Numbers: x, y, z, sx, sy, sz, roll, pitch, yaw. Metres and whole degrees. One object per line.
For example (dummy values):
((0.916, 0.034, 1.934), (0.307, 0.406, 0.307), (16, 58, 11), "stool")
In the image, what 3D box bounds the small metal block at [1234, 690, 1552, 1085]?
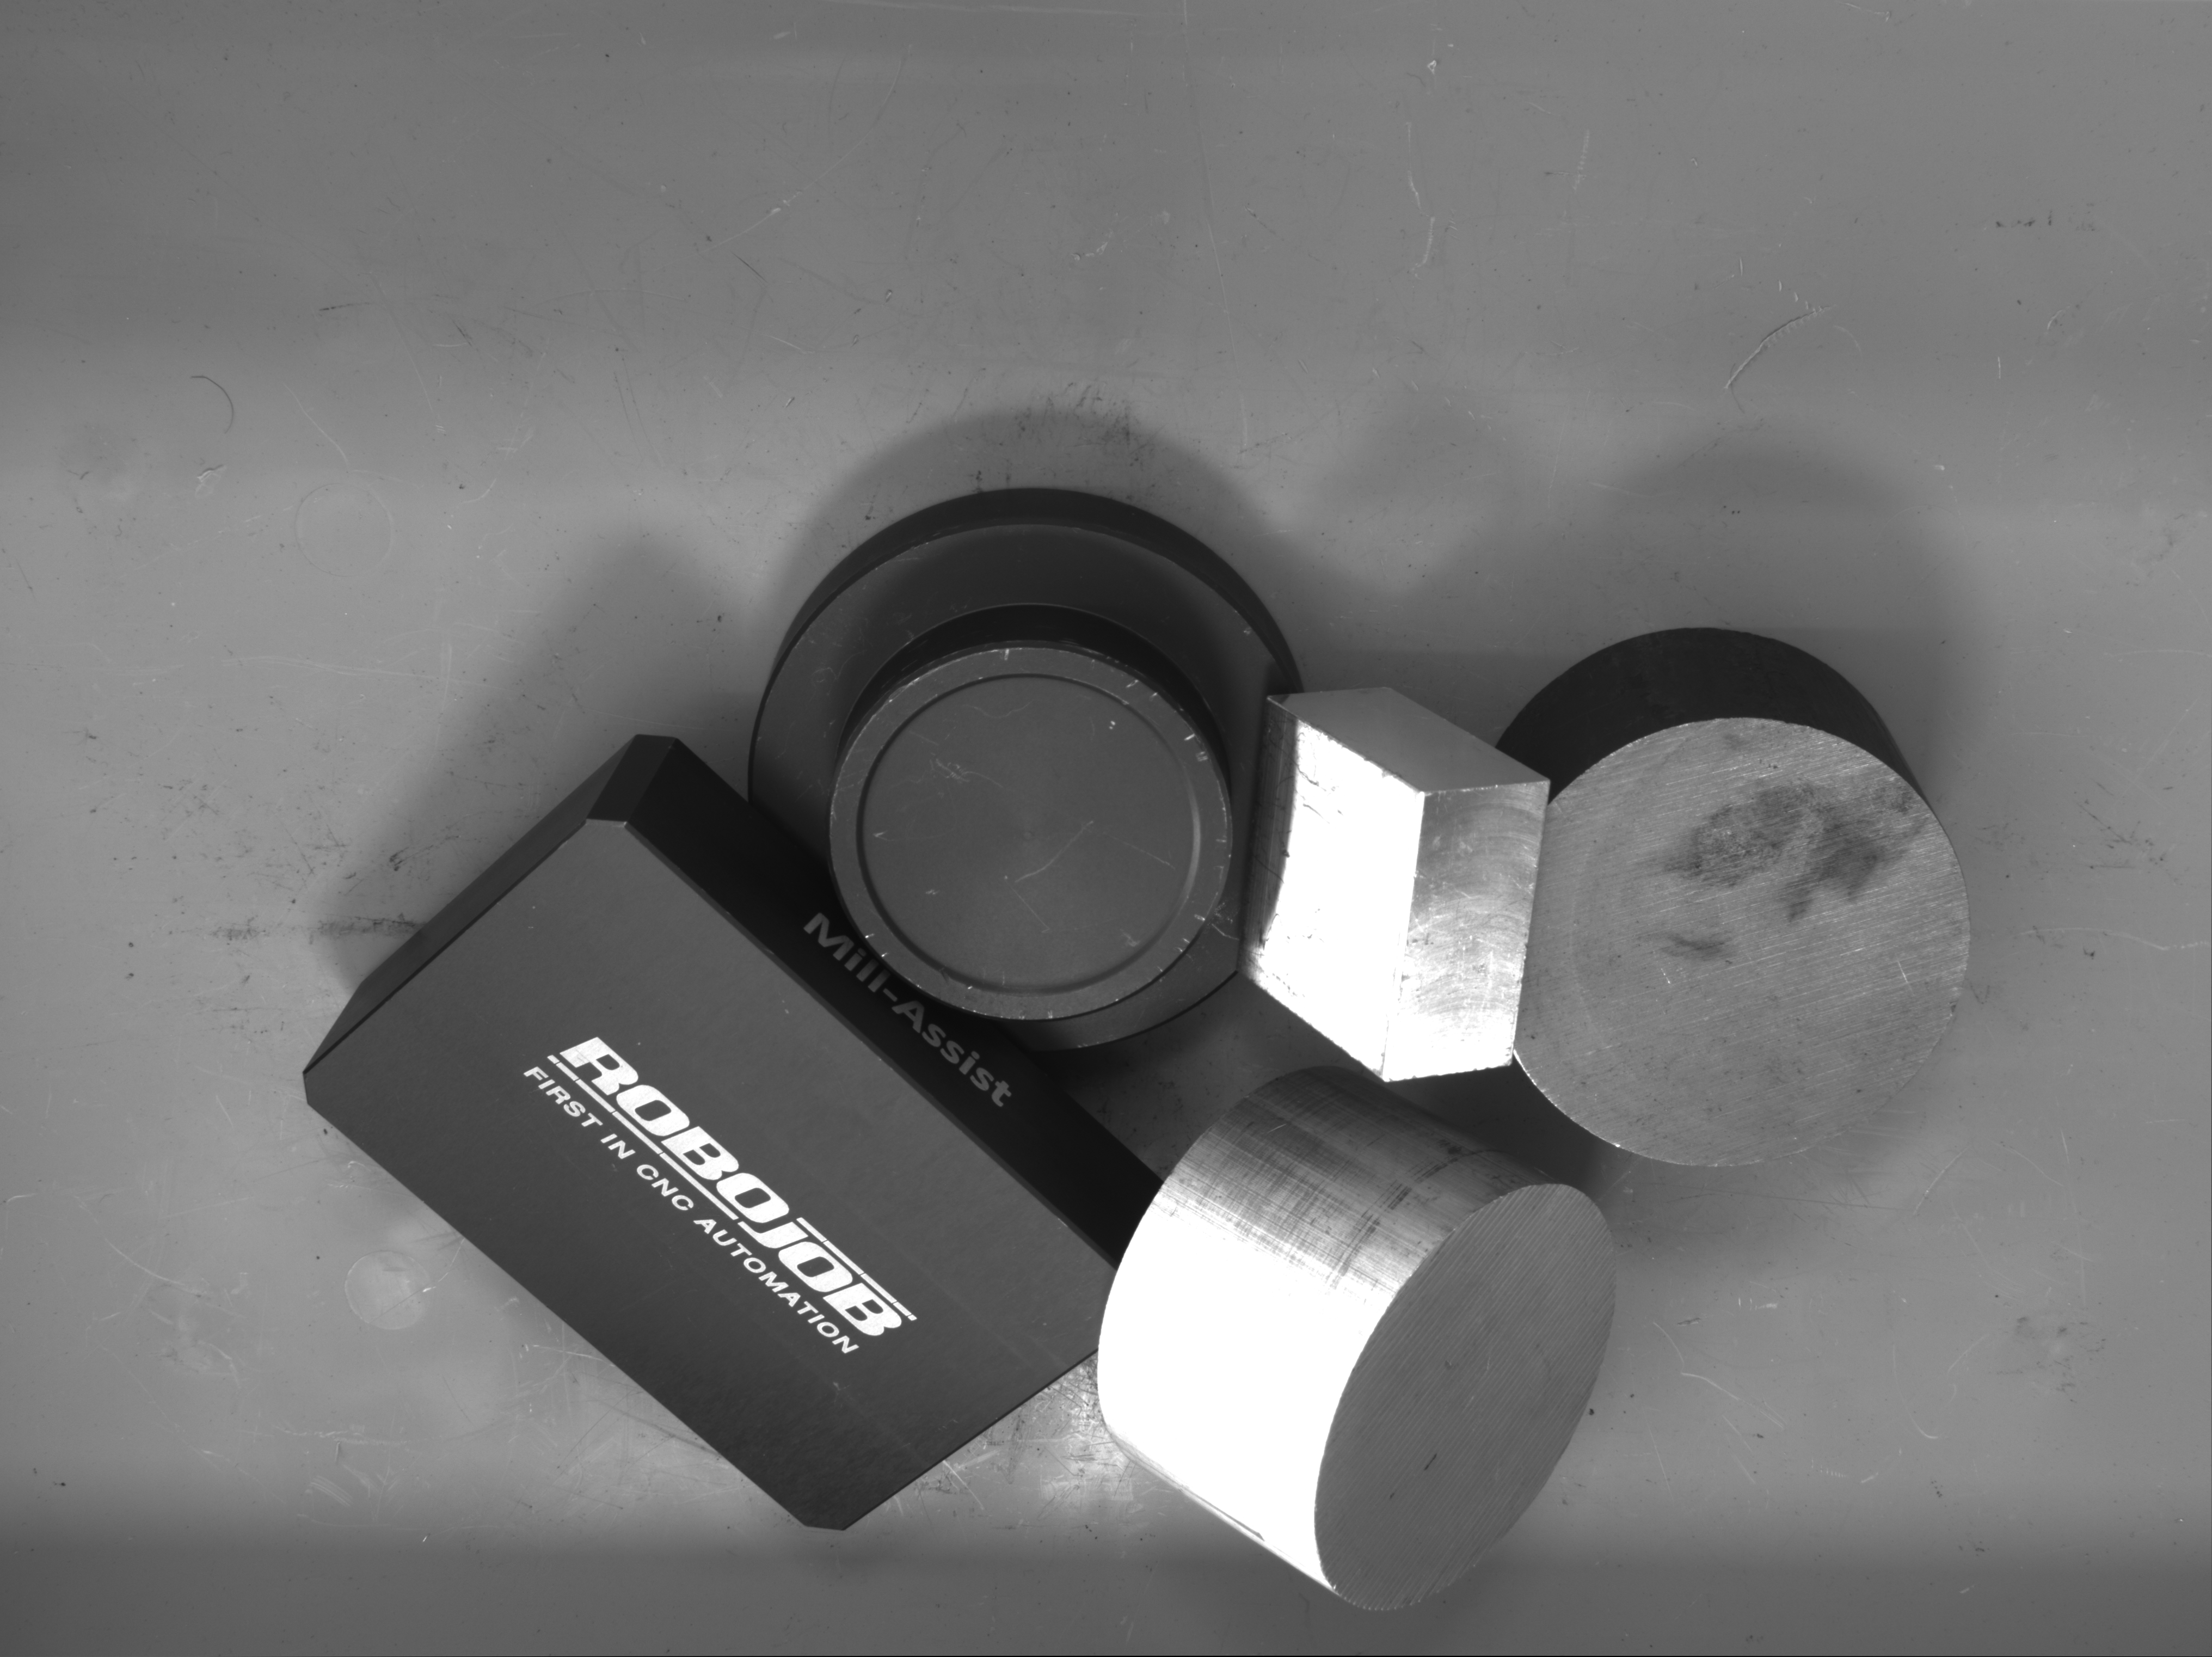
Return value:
((0.047, 0.009, 0.613), (0.025, 0.050, 0.050), (-5, 112, -28), "small metal block")

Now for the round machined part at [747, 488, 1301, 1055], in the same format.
((-0.013, -0.006, 0.631), (0.098, 0.042, 0.098), (0, 110, 0), "round machined part")

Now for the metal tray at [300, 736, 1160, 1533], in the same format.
((-0.065, 0.056, 0.648), (0.130, 0.030, 0.090), (43, 120, -14), "metal tray")

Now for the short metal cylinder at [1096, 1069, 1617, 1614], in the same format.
((0.044, 0.089, 0.639), (0.050, 0.080, 0.080), (26, 115, 37), "short metal cylinder")

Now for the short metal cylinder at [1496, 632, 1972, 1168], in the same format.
((0.104, 0.012, 0.634), (0.080, 0.050, 0.080), (0, 110, 0), "short metal cylinder")
